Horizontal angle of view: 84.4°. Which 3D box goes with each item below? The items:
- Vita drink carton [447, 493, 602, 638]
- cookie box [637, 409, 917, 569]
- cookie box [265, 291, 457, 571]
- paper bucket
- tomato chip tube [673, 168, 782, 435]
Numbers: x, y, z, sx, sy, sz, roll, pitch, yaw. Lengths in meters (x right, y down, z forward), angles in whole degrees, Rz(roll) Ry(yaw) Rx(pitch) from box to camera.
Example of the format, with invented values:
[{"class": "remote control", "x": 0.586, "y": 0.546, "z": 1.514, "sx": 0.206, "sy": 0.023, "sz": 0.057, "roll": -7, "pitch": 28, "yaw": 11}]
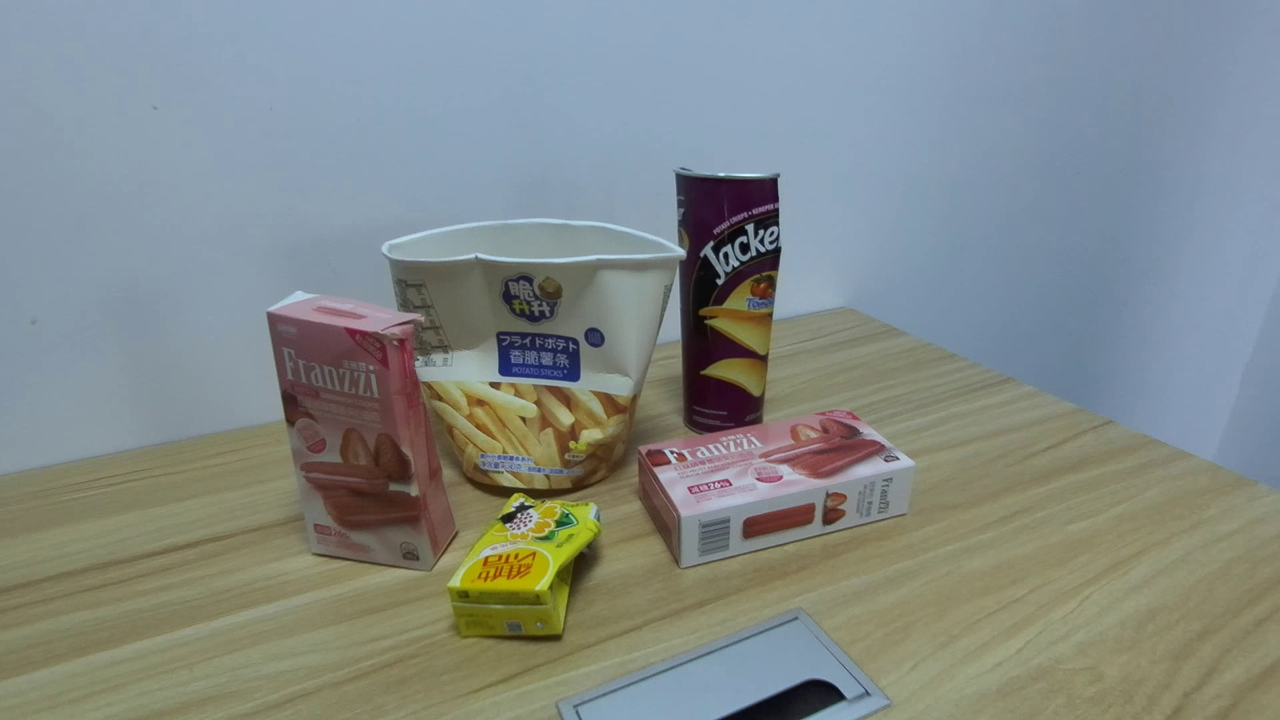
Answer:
[{"class": "Vita drink carton", "x": -0.072, "y": 0.132, "z": 0.462, "sx": 0.087, "sy": 0.042, "sz": 0.108, "roll": -3, "pitch": 18, "yaw": 14}, {"class": "cookie box", "x": 0.100, "y": 0.092, "z": 0.536, "sx": 0.185, "sy": 0.048, "sz": 0.096, "roll": -9, "pitch": 24, "yaw": -16}, {"class": "cookie box", "x": -0.184, "y": 0.052, "z": 0.479, "sx": 0.118, "sy": 0.184, "sz": 0.055, "roll": 7, "pitch": 24, "yaw": 18}, {"class": "paper bucket", "x": -0.084, "y": -0.006, "z": 0.587, "sx": 0.218, "sy": 0.199, "sz": 0.147, "roll": -9, "pitch": 25, "yaw": -16}, {"class": "tomato chip tube", "x": 0.077, "y": -0.050, "z": 0.630, "sx": 0.076, "sy": 0.235, "sz": 0.077, "roll": -7, "pitch": 22, "yaw": -12}]
